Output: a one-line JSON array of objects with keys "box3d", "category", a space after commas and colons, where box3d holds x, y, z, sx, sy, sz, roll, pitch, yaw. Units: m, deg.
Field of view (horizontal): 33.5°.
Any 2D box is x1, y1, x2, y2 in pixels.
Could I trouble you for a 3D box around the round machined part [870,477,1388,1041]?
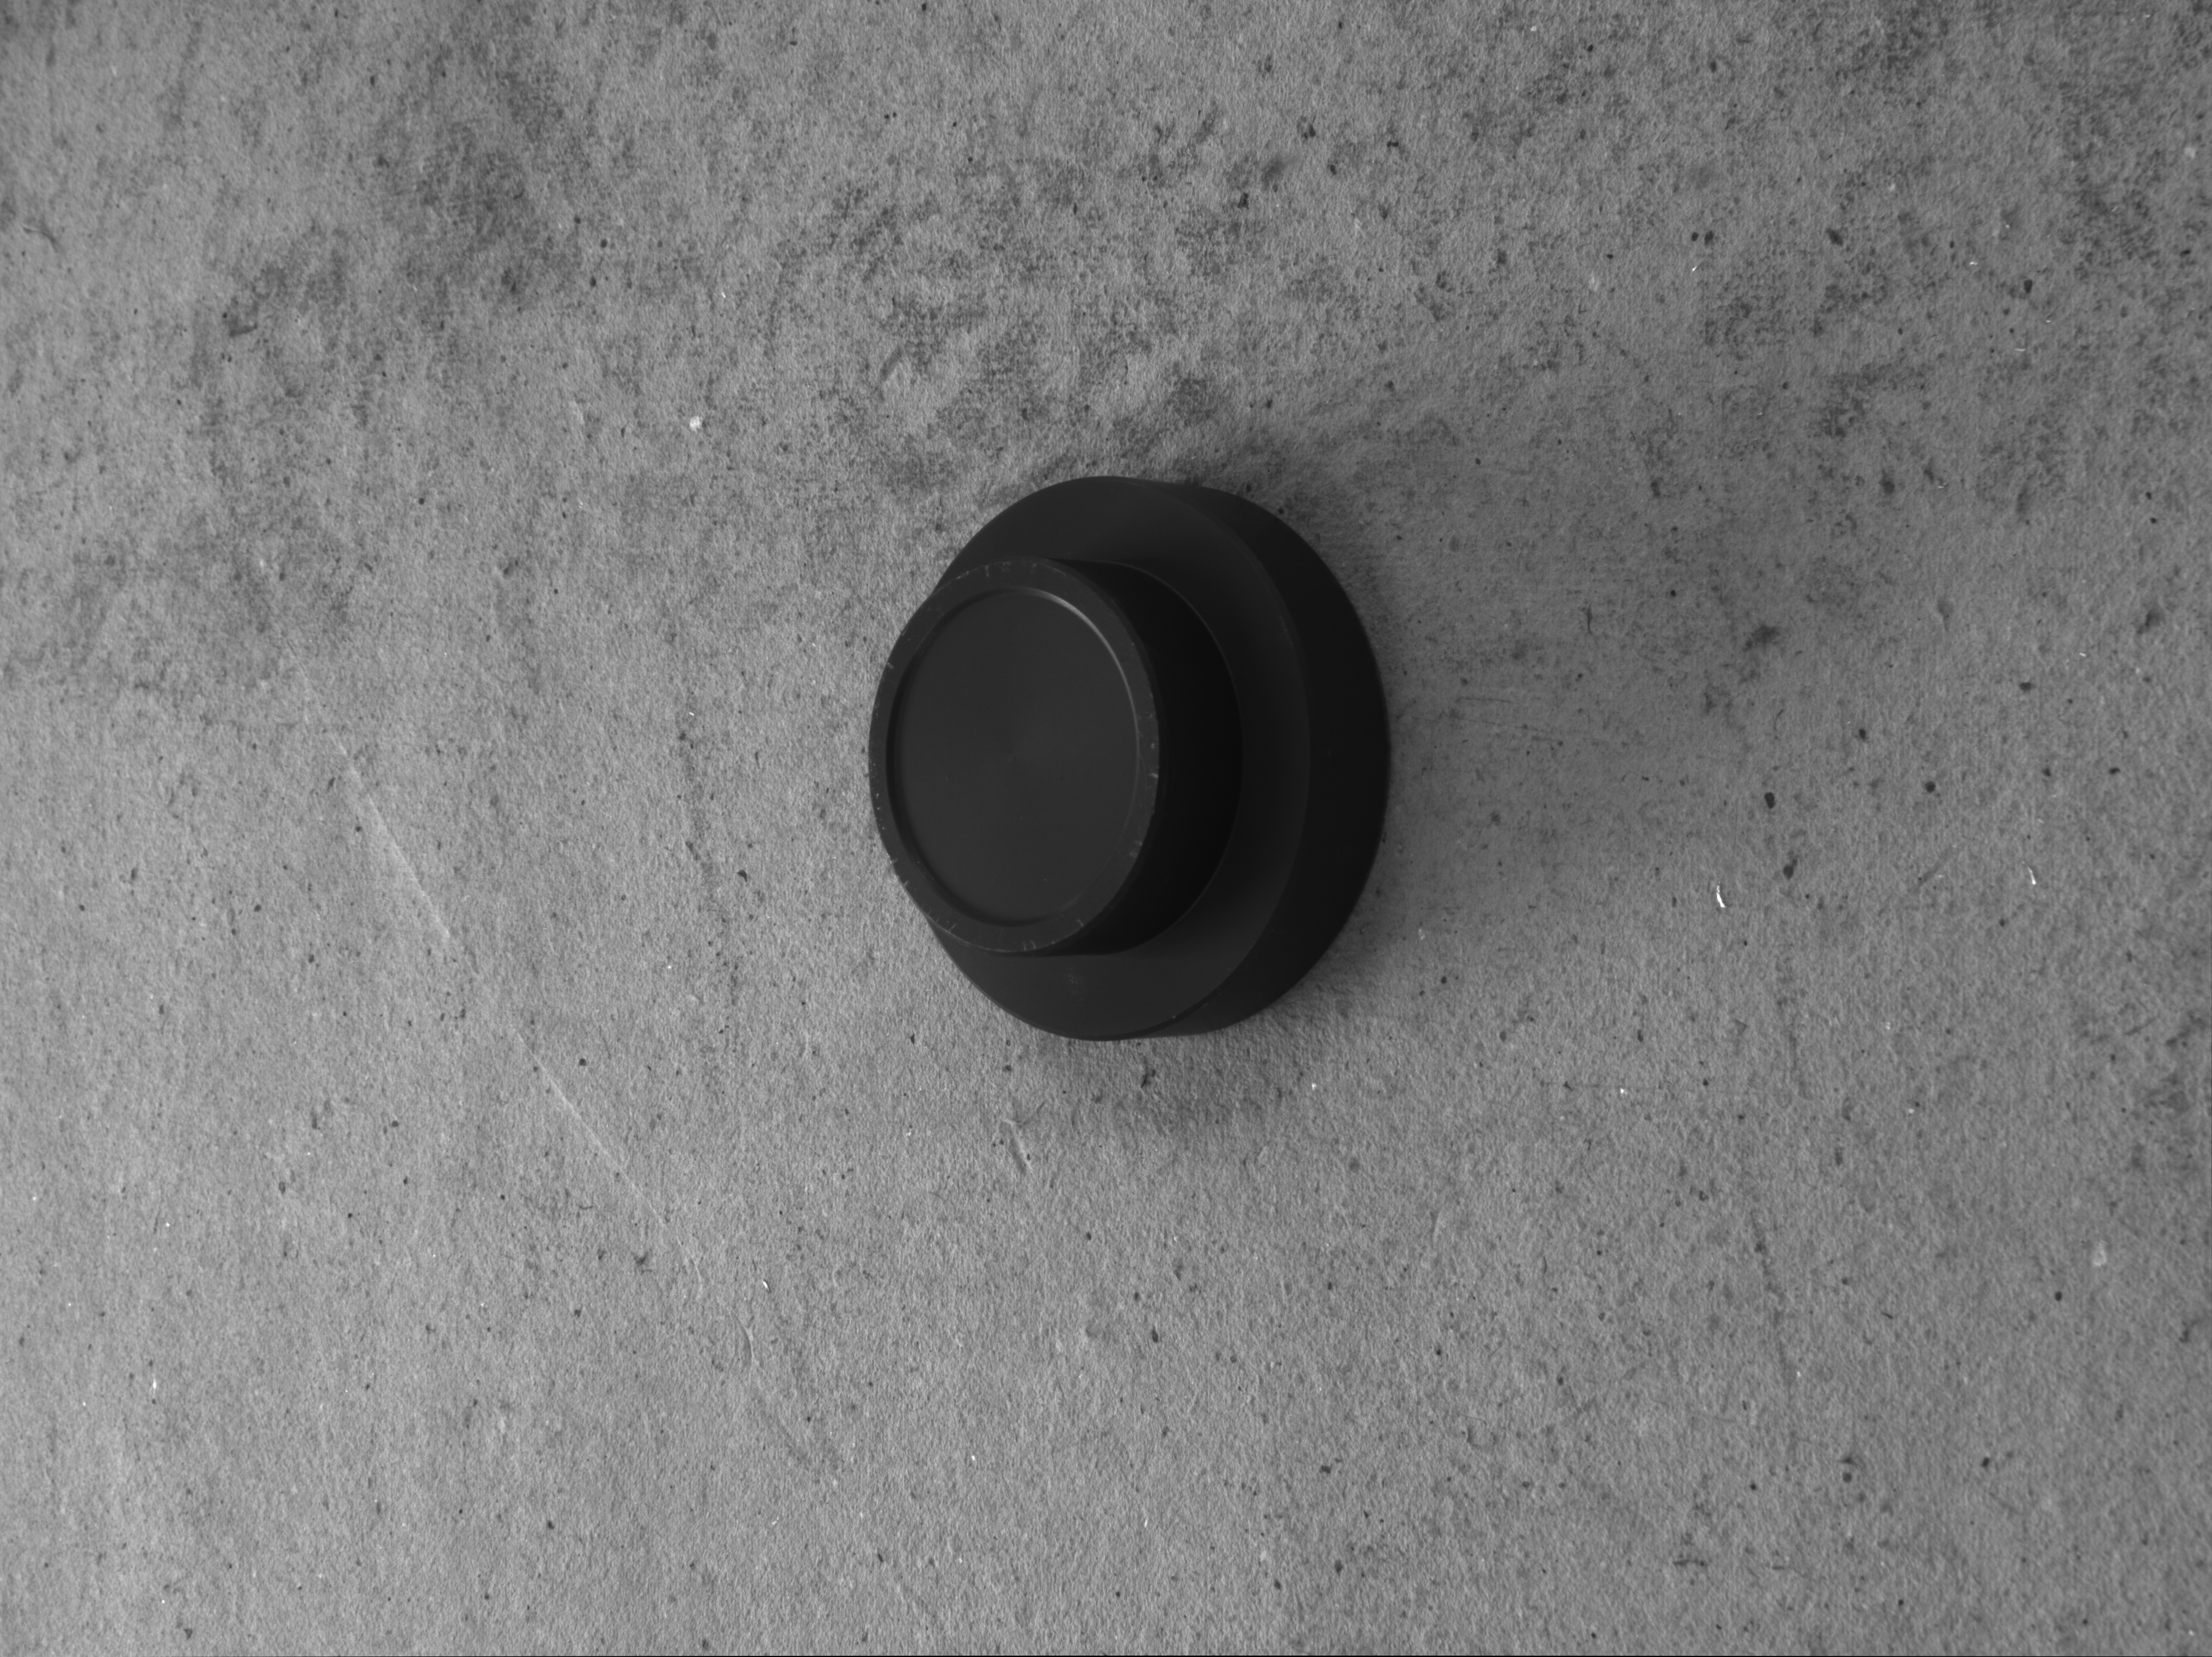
[{"box3d": [-0.003, -0.012, 0.637, 0.098, 0.042, 0.098, 0, 90, 40], "category": "round machined part"}]
